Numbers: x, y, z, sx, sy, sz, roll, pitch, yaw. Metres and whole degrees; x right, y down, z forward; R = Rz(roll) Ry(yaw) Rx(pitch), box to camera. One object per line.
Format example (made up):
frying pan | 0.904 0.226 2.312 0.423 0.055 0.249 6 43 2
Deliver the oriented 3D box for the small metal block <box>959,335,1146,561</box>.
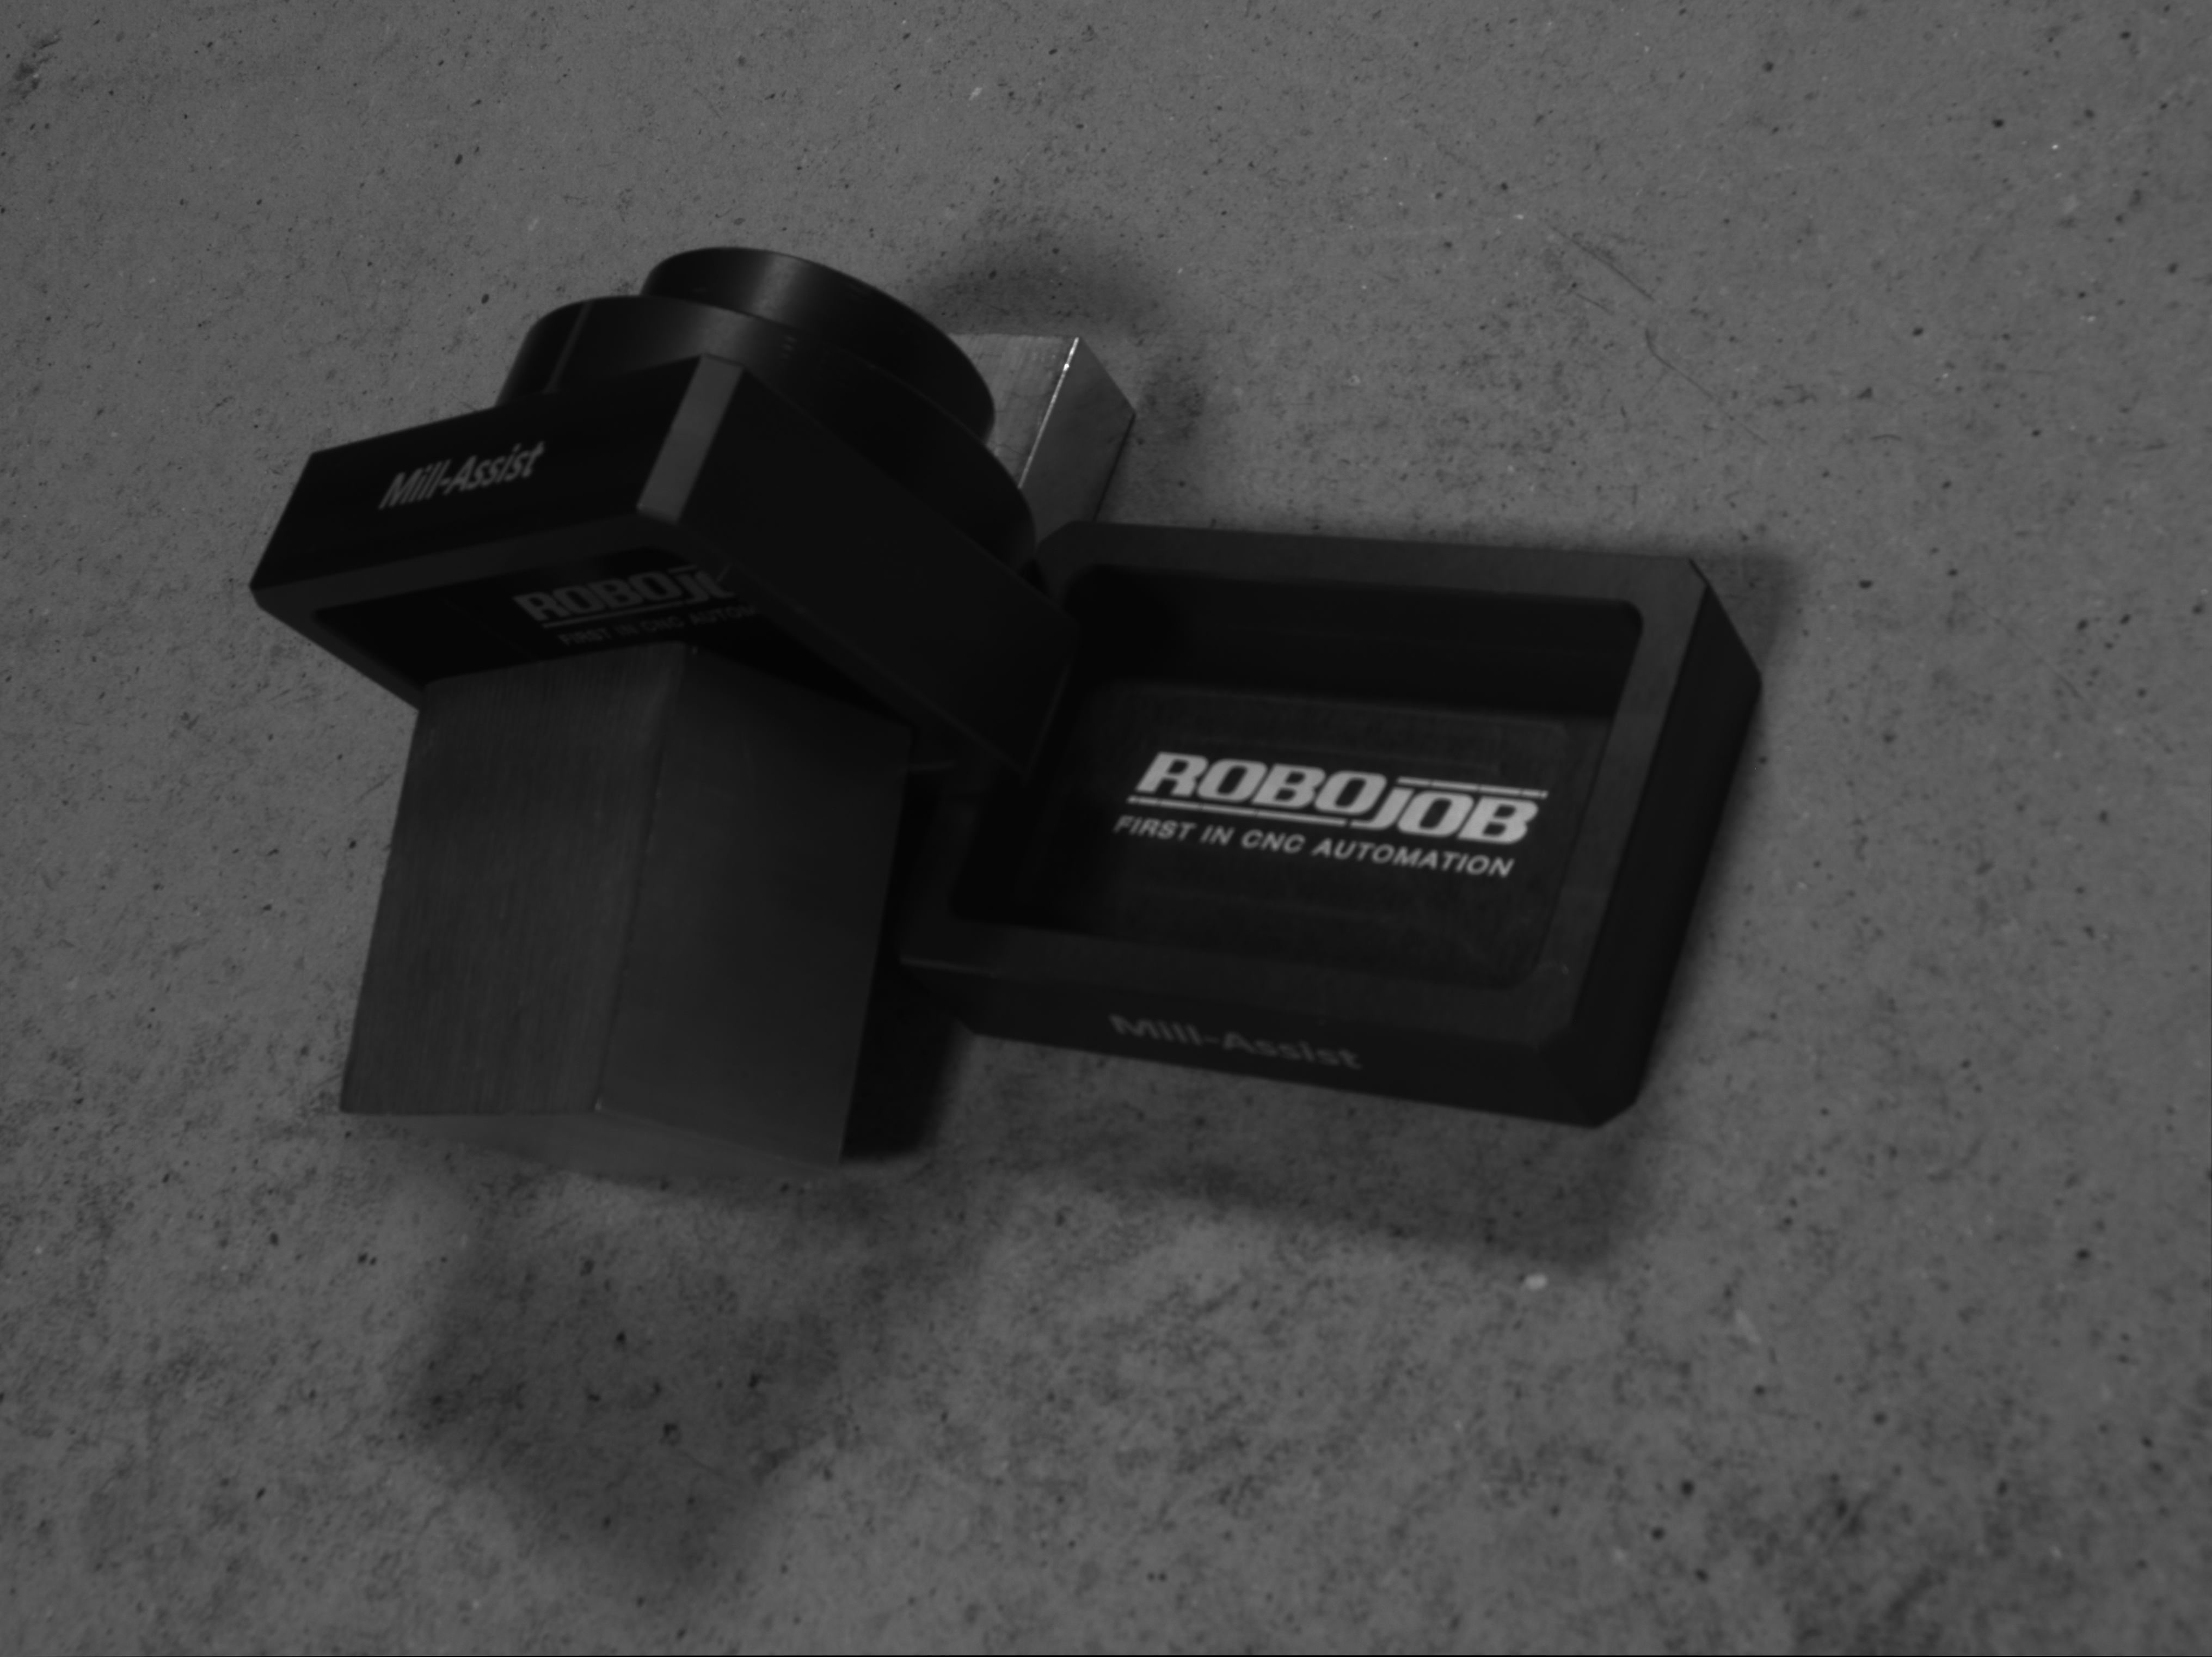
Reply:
small metal block | -0.027 -0.067 0.701 0.050 0.025 0.050 7 65 31

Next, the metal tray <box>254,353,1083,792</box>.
metal tray | -0.079 -0.038 0.646 0.130 0.090 0.030 -5 58 48

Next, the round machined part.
round machined part | -0.057 -0.067 0.656 0.098 0.098 0.042 6 65 31

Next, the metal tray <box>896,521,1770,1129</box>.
metal tray | 0.038 -0.004 0.623 0.130 0.030 0.090 7 65 31

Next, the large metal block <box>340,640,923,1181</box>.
large metal block | -0.083 0.017 0.639 0.080 0.050 0.080 -5 71 47
